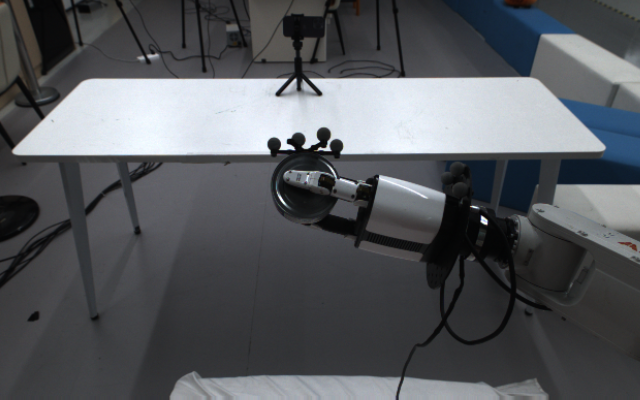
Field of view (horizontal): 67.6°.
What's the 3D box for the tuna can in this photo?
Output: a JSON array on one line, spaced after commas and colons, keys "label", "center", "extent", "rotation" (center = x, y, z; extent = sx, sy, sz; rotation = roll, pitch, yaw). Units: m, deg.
[{"label": "tuna can", "center": [-0.016, -0.011, 0.596], "extent": [0.085, 0.034, 0.085], "rotation": [1, 70, -4]}]
